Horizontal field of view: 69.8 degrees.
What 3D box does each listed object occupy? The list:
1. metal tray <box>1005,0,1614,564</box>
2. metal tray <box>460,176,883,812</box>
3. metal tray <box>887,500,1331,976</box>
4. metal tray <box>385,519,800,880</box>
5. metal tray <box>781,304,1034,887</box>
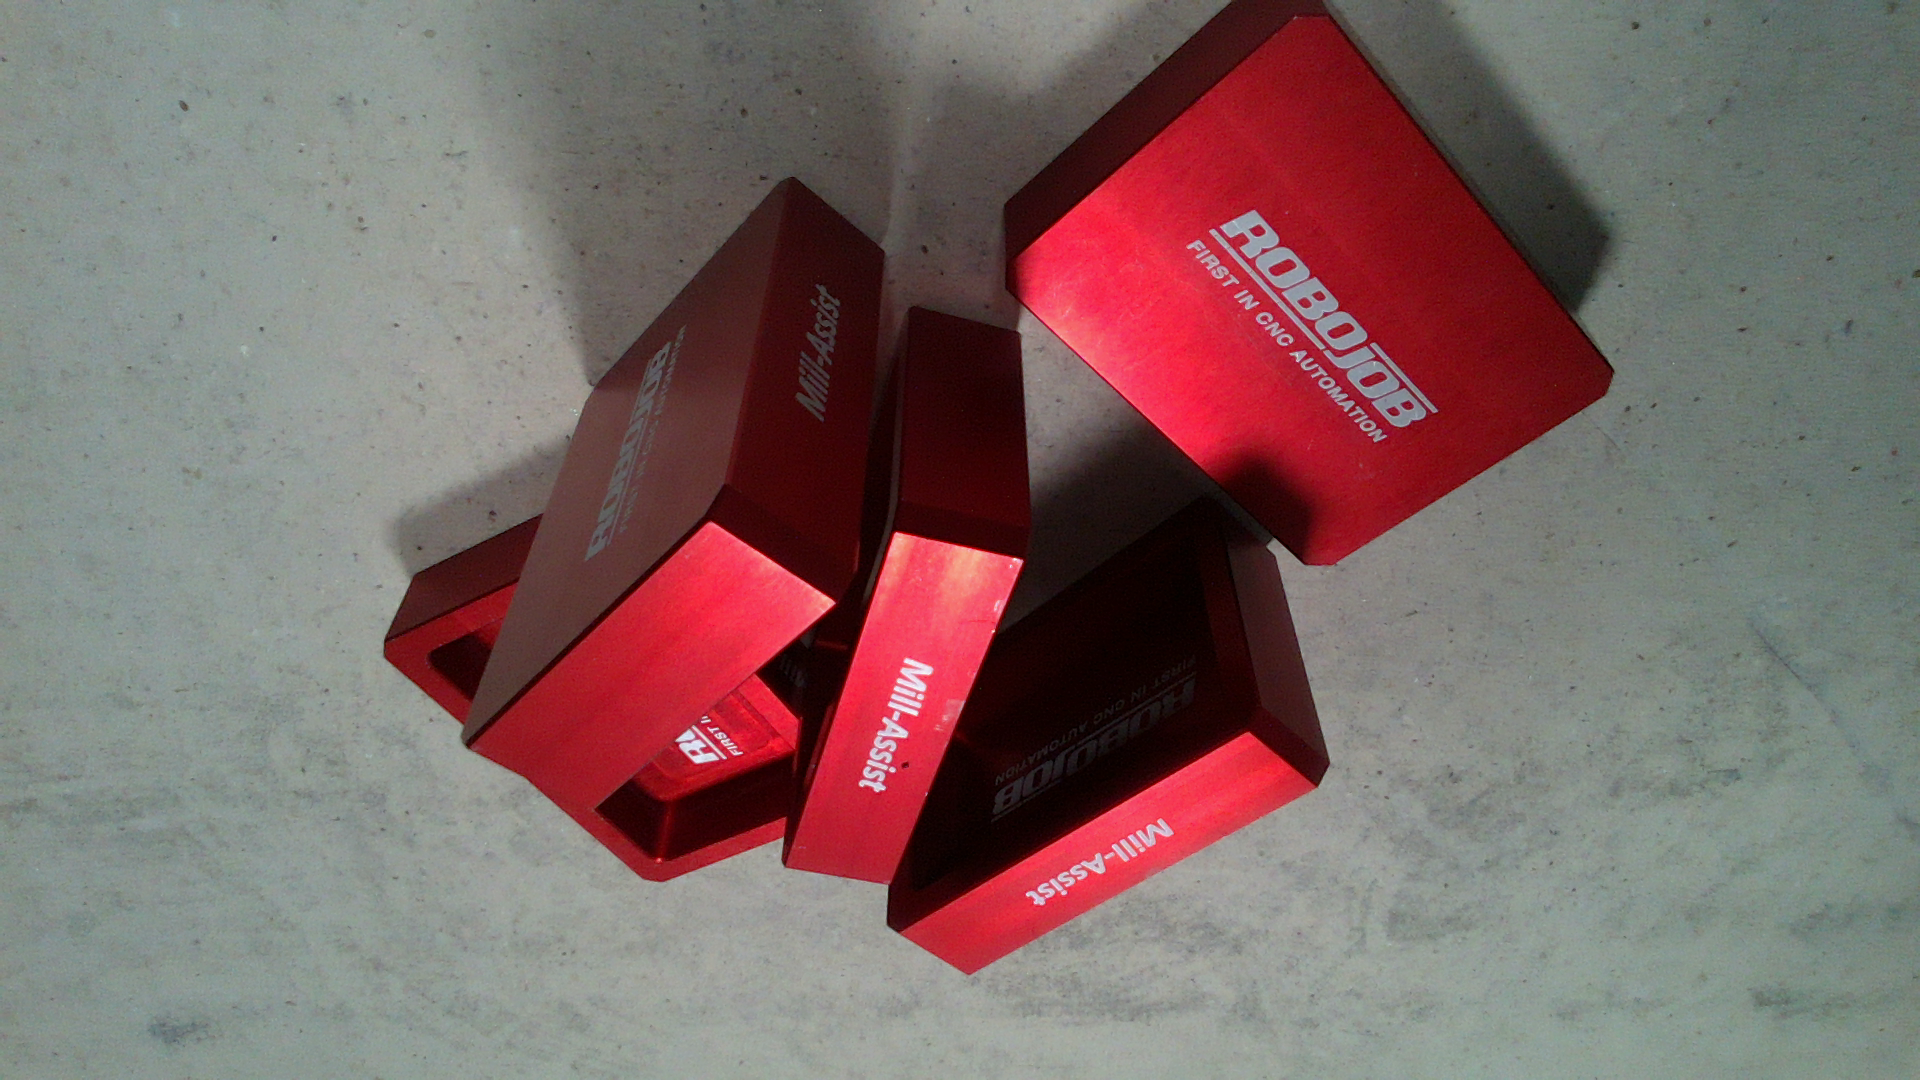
[{"bbox_3d":[0.085,-0.059,0.338,0.090,0.030,0.130,-37,121,27],"label":"metal tray"},{"bbox_3d":[-0.060,-0.015,0.309,0.030,0.130,0.090,36,121,-26],"label":"metal tray"},{"bbox_3d":[0.036,0.057,0.396,0.130,0.090,0.030,-36,121,26],"label":"metal tray"},{"bbox_3d":[-0.097,0.048,0.427,0.090,0.030,0.130,-23,127,18],"label":"metal tray"},{"bbox_3d":[-0.016,0.017,0.362,0.030,0.090,0.130,12,129,-10],"label":"metal tray"}]
